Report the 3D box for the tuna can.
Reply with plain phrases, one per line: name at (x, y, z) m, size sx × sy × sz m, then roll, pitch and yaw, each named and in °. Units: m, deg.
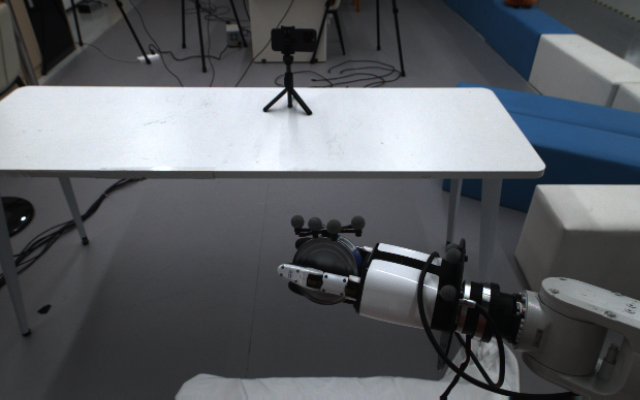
tuna can at (0.012, 0.086, 0.609) m, size 0.085 × 0.085 × 0.034 m, roll 15°, pitch 10°, yaw 18°
